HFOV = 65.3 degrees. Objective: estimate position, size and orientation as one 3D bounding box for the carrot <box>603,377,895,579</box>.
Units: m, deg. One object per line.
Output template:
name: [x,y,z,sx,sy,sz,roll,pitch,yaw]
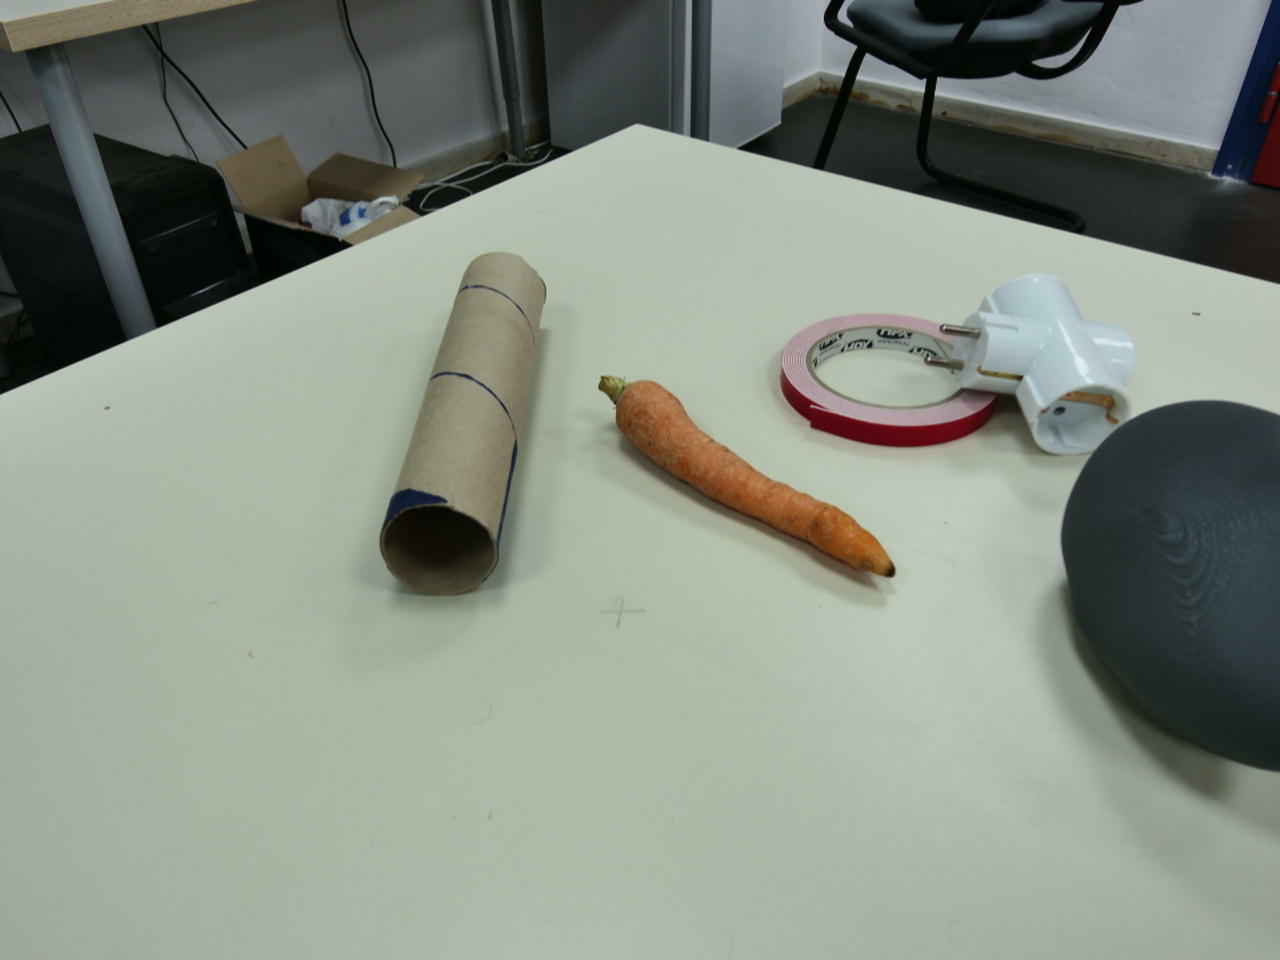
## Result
carrot: [0.042,-0.004,0.447,0.030,0.032,0.173,-27,44,-31]
